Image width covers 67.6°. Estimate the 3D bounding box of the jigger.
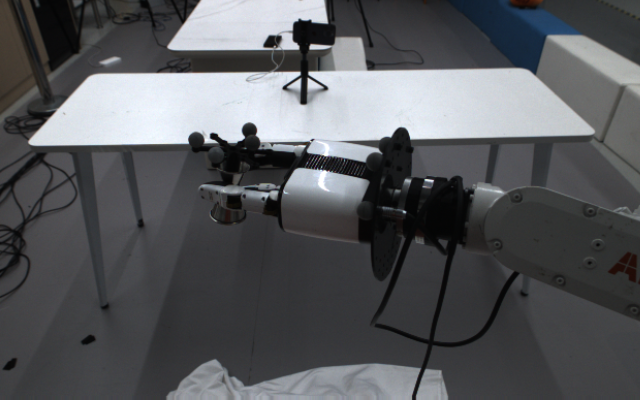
[{"bbox_3d":[-0.104,-0.011,0.560,0.043,0.071,0.043,9,30,-5],"label":"jigger"}]
